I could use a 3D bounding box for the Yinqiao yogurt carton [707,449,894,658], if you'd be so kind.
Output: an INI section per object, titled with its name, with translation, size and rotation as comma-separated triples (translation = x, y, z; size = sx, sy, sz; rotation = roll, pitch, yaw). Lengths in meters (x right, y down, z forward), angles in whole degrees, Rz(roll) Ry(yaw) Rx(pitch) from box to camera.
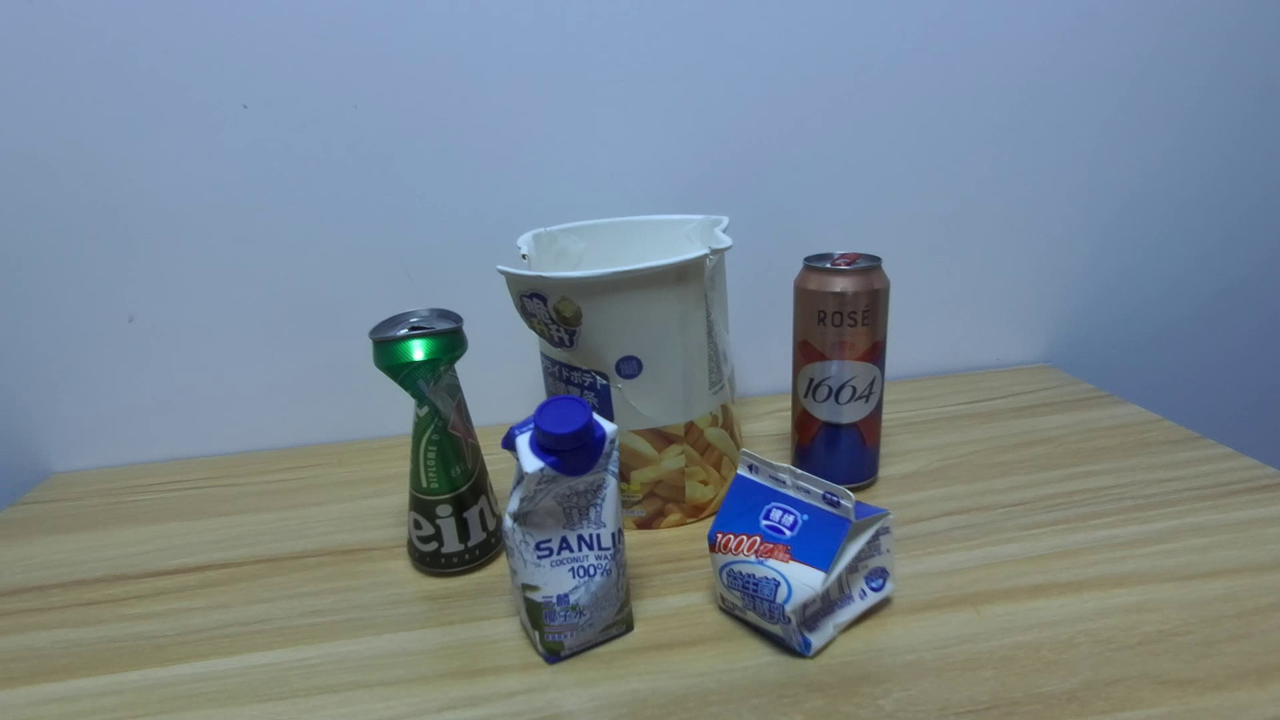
[Yinqiao yogurt carton]
translation = 0.085, 0.098, 0.380
size = 0.074, 0.097, 0.080
rotation = 14, 33, 44

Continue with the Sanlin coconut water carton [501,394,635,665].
[Sanlin coconut water carton]
translation = -0.042, 0.083, 0.375
size = 0.061, 0.144, 0.069
rotation = -13, 22, -25

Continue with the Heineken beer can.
[Heineken beer can]
translation = -0.127, 0.053, 0.454
size = 0.066, 0.164, 0.078
rotation = 3, 21, 27

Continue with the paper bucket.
[paper bucket]
translation = 0.000, 0.003, 0.515
size = 0.146, 0.197, 0.202
rotation = -5, 19, 2
